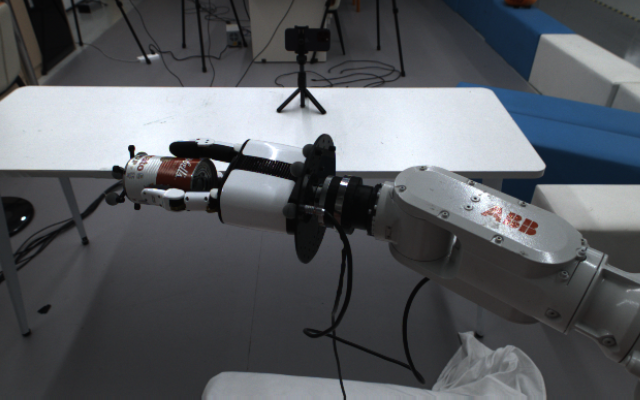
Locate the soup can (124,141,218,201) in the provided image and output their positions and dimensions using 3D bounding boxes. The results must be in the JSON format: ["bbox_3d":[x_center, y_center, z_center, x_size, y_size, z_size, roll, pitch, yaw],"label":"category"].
[{"bbox_3d":[-0.194,-0.023,0.636,0.101,0.067,0.067,5,34,14],"label":"soup can"}]
